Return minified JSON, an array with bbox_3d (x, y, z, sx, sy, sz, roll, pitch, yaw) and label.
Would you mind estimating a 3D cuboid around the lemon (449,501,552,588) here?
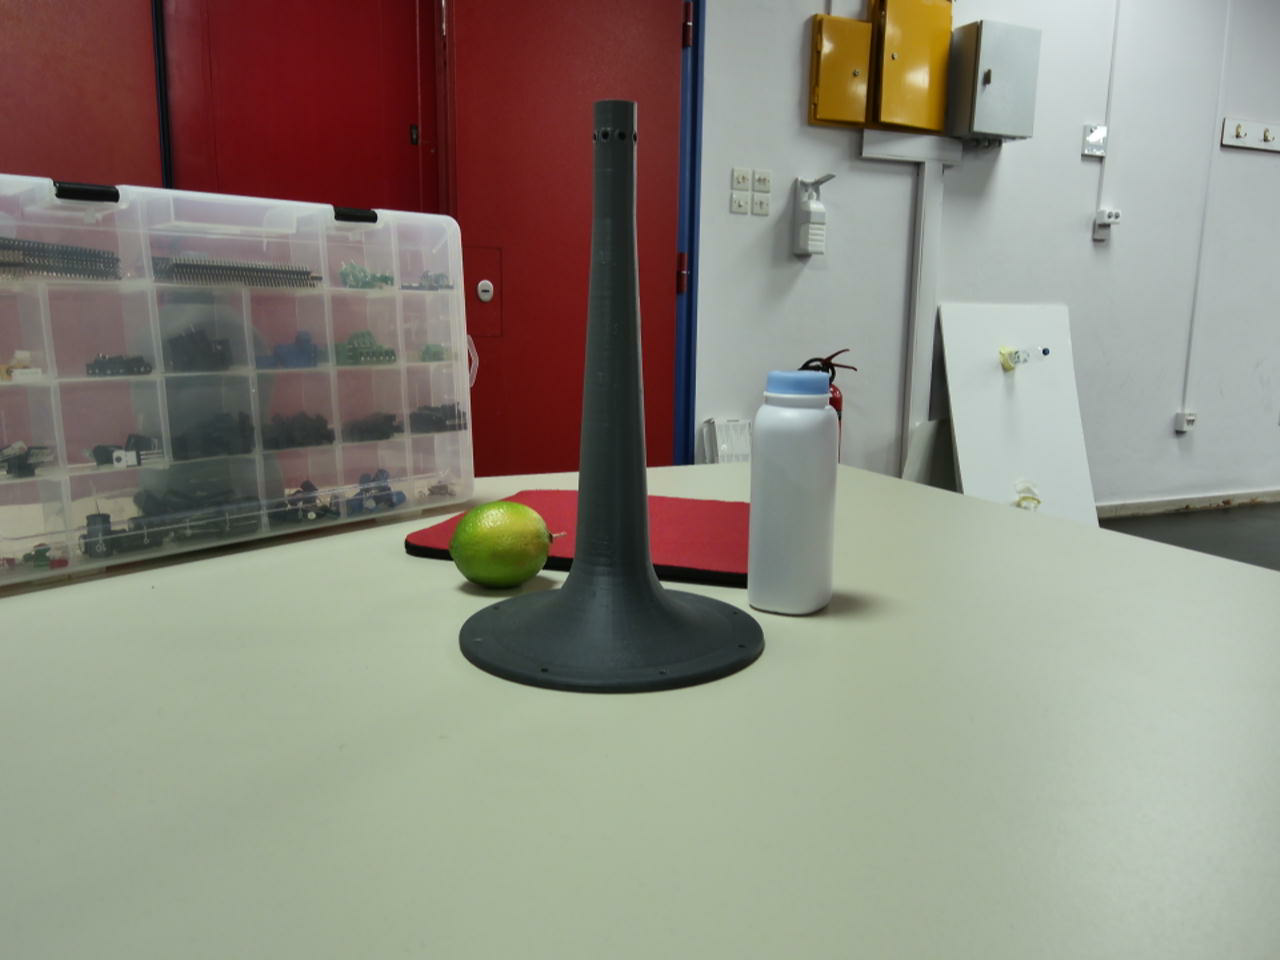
[{"bbox_3d":[-0.082,0.037,0.590,0.055,0.050,0.054,3,9,25],"label":"lemon"}]
